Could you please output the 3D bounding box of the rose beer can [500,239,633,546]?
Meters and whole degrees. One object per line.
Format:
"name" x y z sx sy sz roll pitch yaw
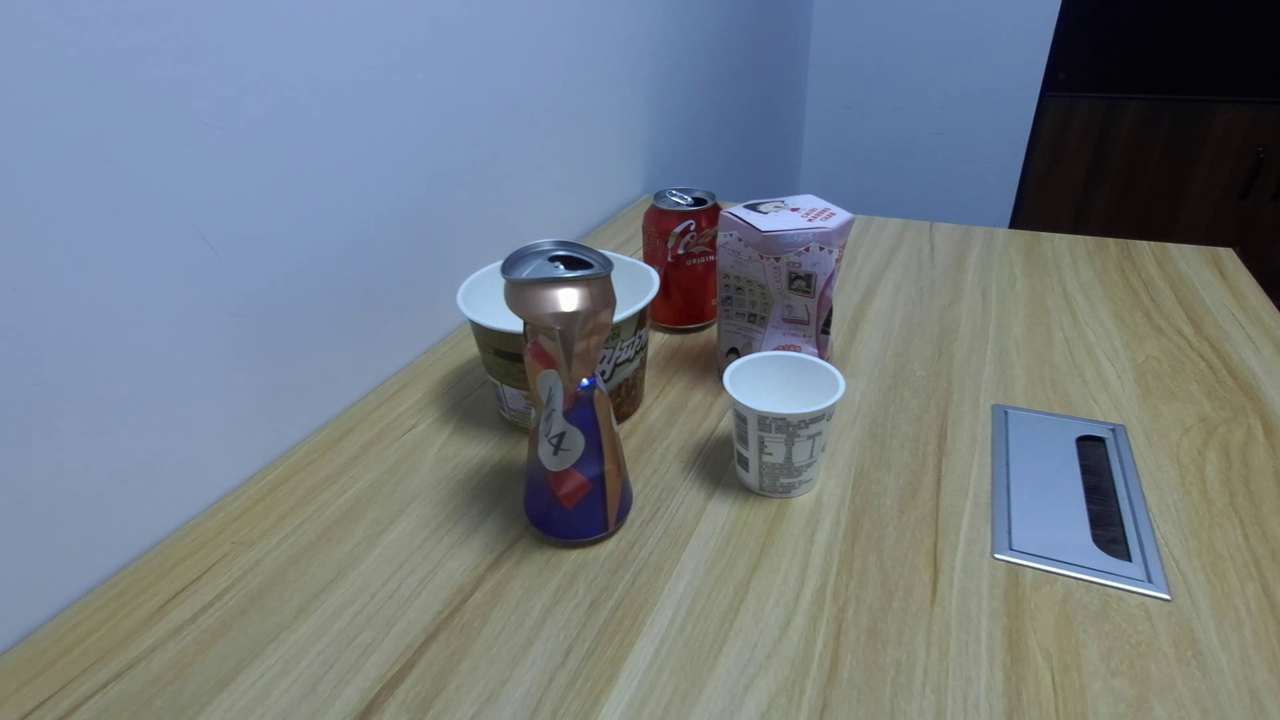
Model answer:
"rose beer can" -0.040 0.022 0.388 0.073 0.162 0.068 17 34 29

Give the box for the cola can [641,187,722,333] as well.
"cola can" 0.036 -0.088 0.613 0.067 0.117 0.065 -24 38 -35

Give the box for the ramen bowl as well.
"ramen bowl" -0.053 -0.012 0.517 0.140 0.095 0.140 -3 28 2

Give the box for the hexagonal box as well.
"hexagonal box" 0.103 -0.043 0.513 0.093 0.135 0.088 -3 30 -3

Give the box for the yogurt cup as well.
"yogurt cup" 0.086 0.041 0.432 0.072 0.068 0.072 -2 31 1
